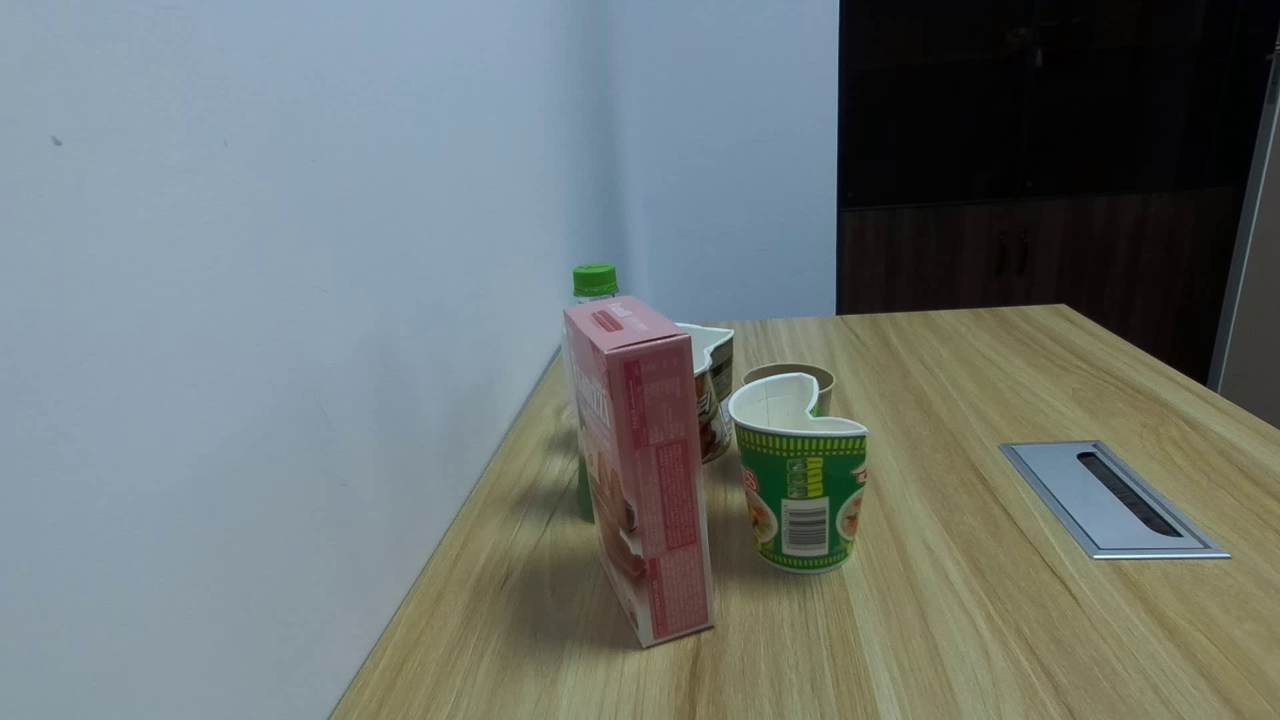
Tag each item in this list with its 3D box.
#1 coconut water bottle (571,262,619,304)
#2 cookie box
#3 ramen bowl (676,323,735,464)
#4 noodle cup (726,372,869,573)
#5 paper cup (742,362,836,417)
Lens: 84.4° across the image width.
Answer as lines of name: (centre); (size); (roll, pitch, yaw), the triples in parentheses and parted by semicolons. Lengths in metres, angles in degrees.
coconut water bottle: (-0.025, 0.018, 0.545); (0.063, 0.189, 0.063); (-3, 29, 2)
cookie box: (0.001, 0.064, 0.420); (0.048, 0.185, 0.096); (-12, 22, -16)
ramen bowl: (0.014, 0.029, 0.635); (0.133, 0.097, 0.114); (4, 23, 13)
noodle cup: (0.105, 0.076, 0.469); (0.087, 0.109, 0.094); (0, 22, 14)
paper cup: (0.119, 0.053, 0.568); (0.075, 0.082, 0.075); (-3, 17, 1)
